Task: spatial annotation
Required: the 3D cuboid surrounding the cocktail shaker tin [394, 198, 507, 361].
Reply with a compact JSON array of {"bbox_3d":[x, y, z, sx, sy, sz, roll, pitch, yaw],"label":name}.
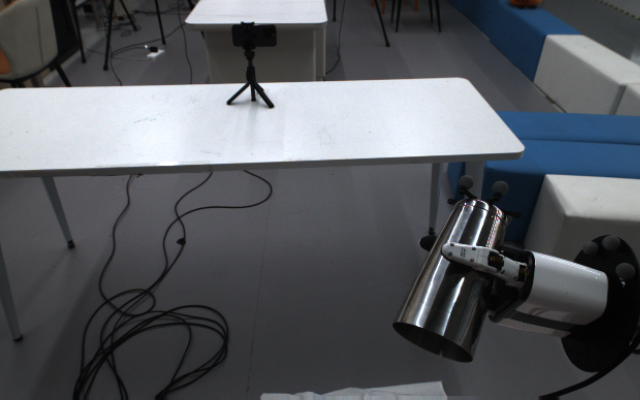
[{"bbox_3d":[0.163,0.084,0.557,0.093,0.093,0.170,17,66,20],"label":"cocktail shaker tin"}]
